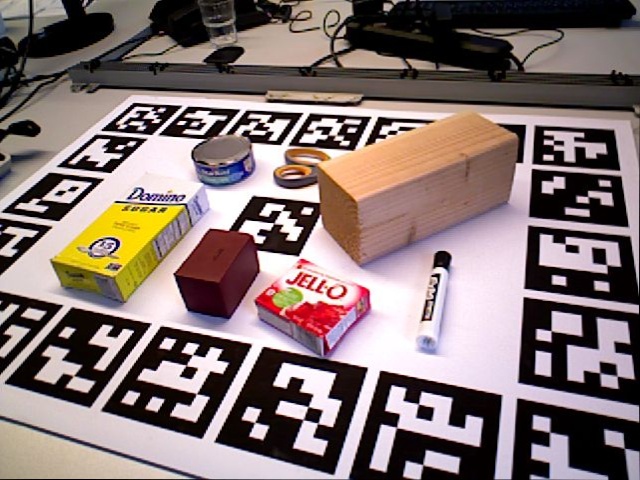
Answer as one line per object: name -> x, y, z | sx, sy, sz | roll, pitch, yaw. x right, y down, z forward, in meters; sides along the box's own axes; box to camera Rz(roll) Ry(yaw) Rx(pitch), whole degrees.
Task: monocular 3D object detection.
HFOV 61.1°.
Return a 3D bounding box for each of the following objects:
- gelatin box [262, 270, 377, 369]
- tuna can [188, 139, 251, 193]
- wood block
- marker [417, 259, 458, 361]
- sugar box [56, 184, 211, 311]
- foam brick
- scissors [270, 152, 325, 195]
gelatin box -> 0.000, 0.074, 0.531 | 0.090, 0.031, 0.071 | 22, 51, 32
tuna can -> -0.139, -0.103, 0.752 | 0.085, 0.034, 0.084 | -6, 42, 5
wood block -> 0.116, -0.051, 0.607 | 0.203, 0.093, 0.089 | -23, 42, -16
marker -> 0.115, 0.063, 0.525 | 0.020, 0.020, 0.118 | 8, 47, 19
sugar box -> -0.214, 0.002, 0.646 | 0.093, 0.046, 0.172 | 11, 45, 21
foam brick -> -0.097, 0.045, 0.560 | 0.053, 0.052, 0.076 | 8, 45, 20
scissors -> 0.029, -0.080, 0.710 | 0.204, 0.016, 0.085 | 11, 45, 25
